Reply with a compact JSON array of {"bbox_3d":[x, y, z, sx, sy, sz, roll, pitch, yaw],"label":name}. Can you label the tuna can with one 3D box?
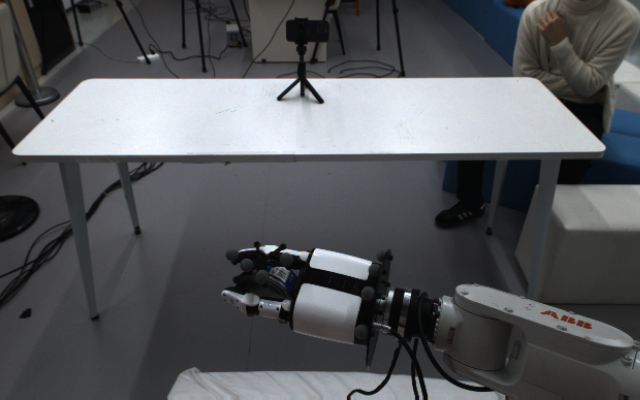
[{"bbox_3d":[-0.069,0.123,0.673,0.085,0.085,0.034,11,38,13],"label":"tuna can"}]
